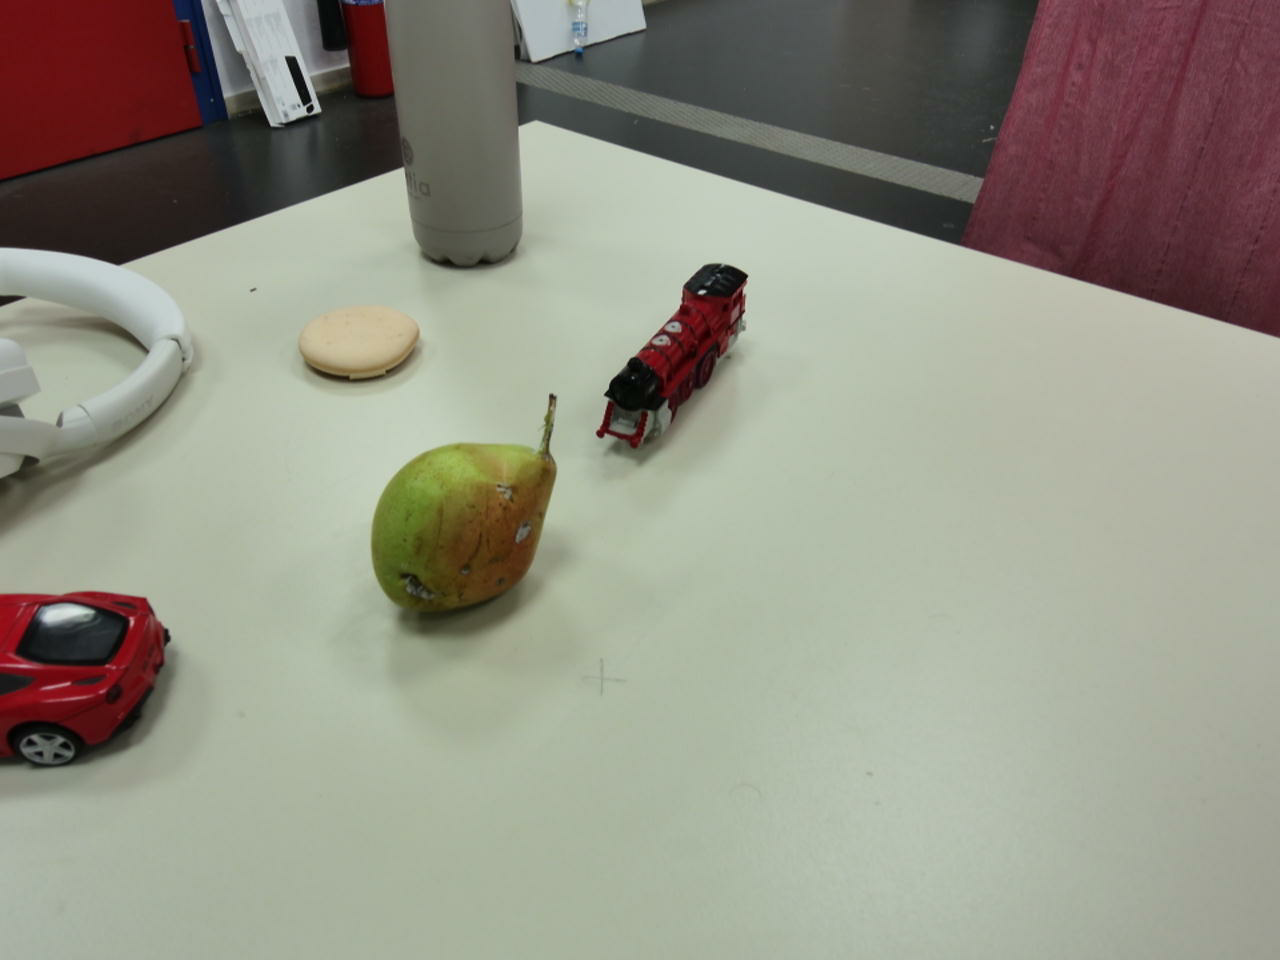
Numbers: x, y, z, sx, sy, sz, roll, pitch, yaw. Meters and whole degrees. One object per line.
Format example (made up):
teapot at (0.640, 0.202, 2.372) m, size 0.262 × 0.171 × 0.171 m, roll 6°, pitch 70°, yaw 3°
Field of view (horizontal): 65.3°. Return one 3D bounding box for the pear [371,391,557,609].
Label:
pear at (-0.067, 0.013, 0.384) m, size 0.070 × 0.069 × 0.068 m, roll -1°, pitch 36°, yaw -1°
